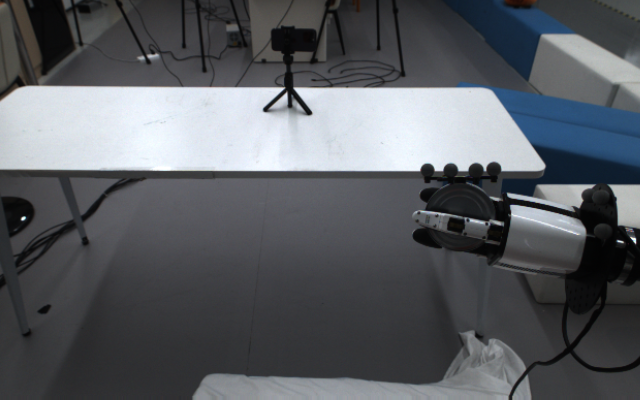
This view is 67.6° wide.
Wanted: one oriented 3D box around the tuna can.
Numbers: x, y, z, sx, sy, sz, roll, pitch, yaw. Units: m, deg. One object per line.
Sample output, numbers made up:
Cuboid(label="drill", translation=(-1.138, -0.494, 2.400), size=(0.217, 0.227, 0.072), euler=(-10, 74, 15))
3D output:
Cuboid(label="tuna can", translation=(0.178, 0.019, 0.614), size=(0.085, 0.085, 0.034), euler=(15, 10, 18))
